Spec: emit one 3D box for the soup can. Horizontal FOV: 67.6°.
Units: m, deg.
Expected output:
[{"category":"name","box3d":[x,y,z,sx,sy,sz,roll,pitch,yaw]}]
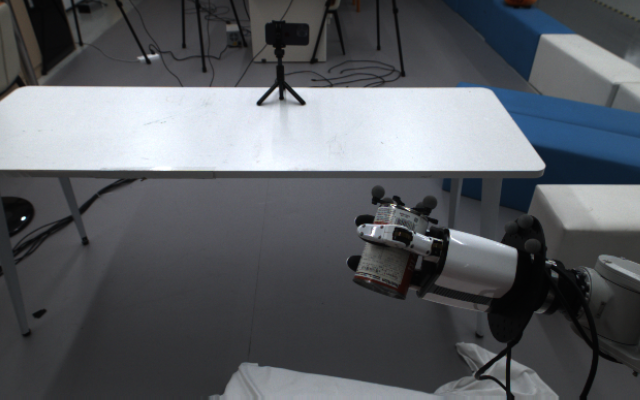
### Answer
[{"category":"soup can","box3d":[0.090,0.063,0.599,0.067,0.067,0.101,15,75,18]}]
